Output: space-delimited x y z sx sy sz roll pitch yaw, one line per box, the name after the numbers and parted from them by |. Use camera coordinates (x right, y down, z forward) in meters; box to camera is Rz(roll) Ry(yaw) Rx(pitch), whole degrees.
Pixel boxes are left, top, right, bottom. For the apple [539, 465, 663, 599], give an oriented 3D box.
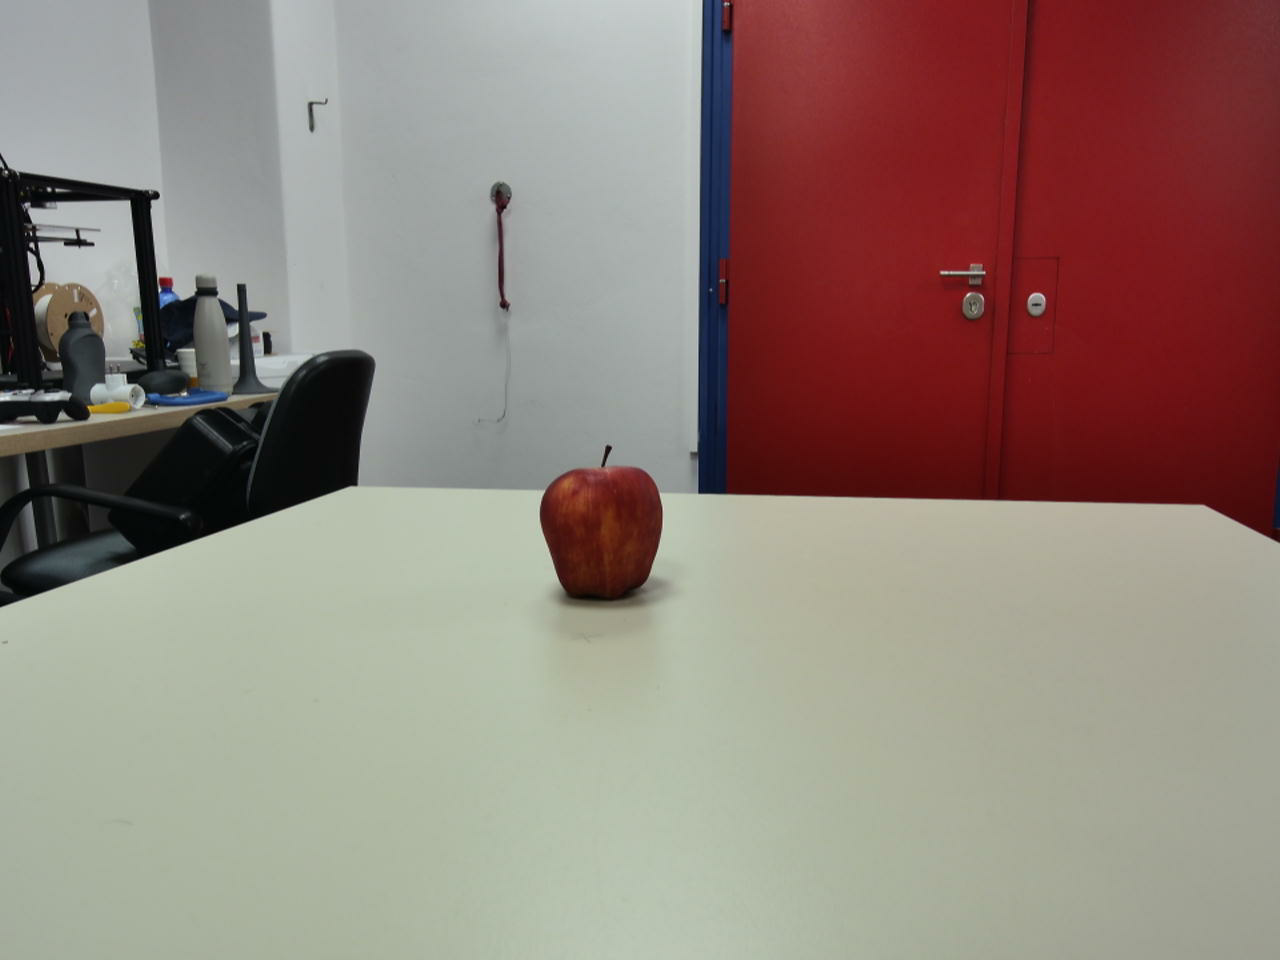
-0.024 0.025 0.610 0.083 0.090 0.083 -2 7 0 | apple
